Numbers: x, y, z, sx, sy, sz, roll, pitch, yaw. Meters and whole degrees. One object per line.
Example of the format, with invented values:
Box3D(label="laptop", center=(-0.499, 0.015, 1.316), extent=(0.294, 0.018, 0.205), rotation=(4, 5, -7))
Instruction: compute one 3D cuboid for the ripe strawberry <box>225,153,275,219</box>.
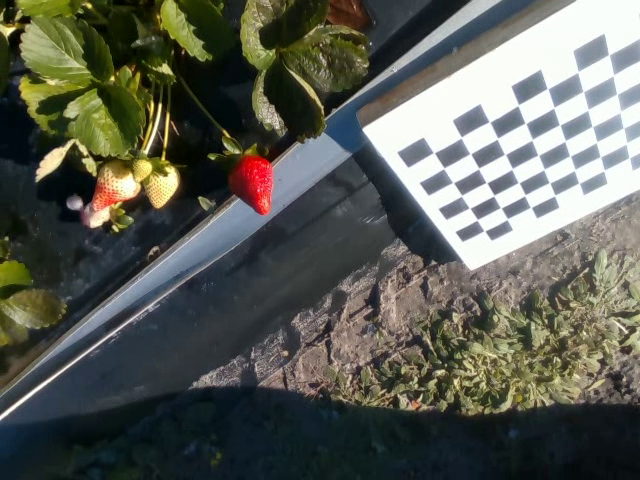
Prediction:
Box3D(label="ripe strawberry", center=(-0.043, -0.033, 0.405), extent=(0.036, 0.046, 0.038), rotation=(-27, -22, 20))
